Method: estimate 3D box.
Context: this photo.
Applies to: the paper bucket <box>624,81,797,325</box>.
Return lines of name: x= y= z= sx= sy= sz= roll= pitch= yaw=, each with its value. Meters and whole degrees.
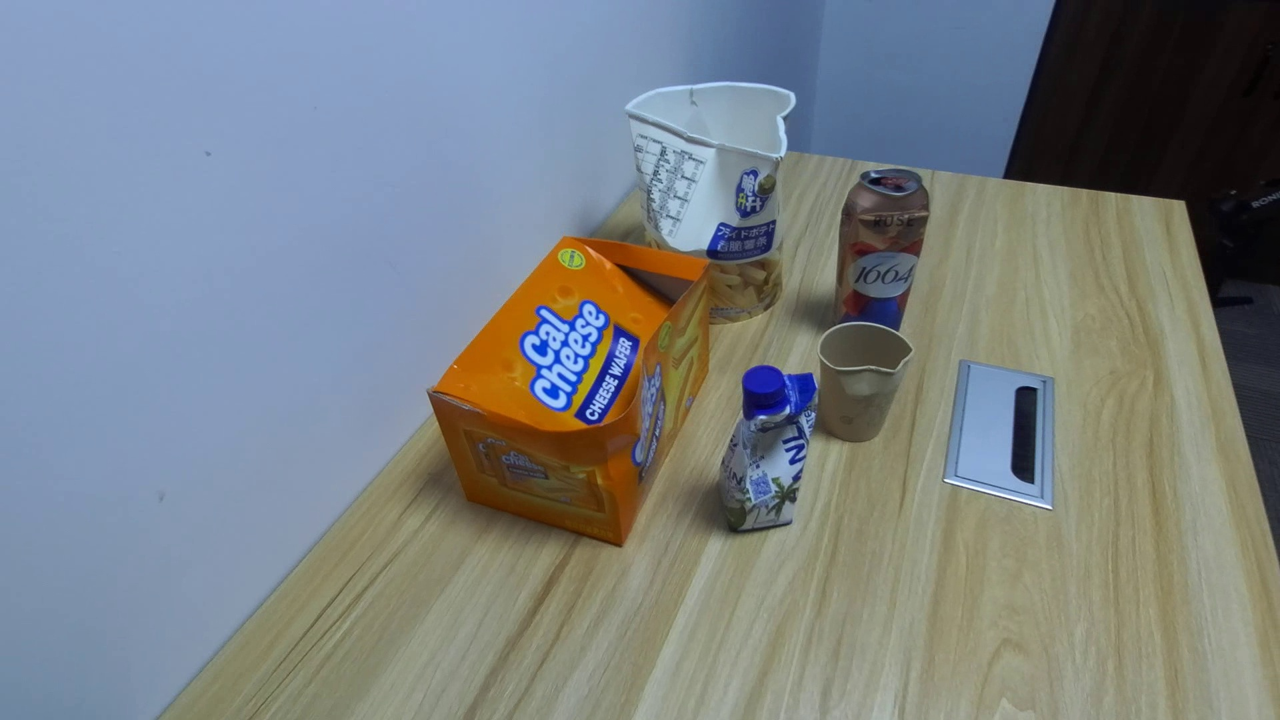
paper bucket: x=0.070 y=-0.159 z=0.731 sx=0.162 sy=0.202 sz=0.169 roll=5 pitch=39 yaw=13

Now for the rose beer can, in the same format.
rose beer can: x=0.228 y=-0.097 z=0.674 sx=0.075 sy=0.167 sz=0.065 roll=1 pitch=40 yaw=12

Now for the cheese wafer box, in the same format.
cheese wafer box: x=-0.041 y=0.018 z=0.591 sx=0.152 sy=0.132 sz=0.230 roll=14 pitch=44 yaw=17

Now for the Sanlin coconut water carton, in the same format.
Sanlin coconut water carton: x=0.097 y=0.065 z=0.512 sx=0.068 sy=0.145 sz=0.056 roll=-3 pitch=48 yaw=-9

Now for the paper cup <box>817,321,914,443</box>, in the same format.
paper cup: x=0.183 y=0.021 z=0.599 sx=0.068 sy=0.081 sz=0.073 roll=25 pitch=47 yaw=31
